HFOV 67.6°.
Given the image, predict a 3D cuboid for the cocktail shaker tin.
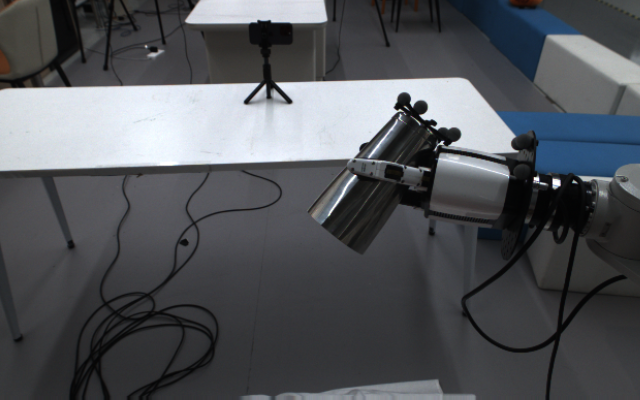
[{"bbox_3d":[0.072,-0.029,0.618,0.170,0.093,0.093,-50,46,4],"label":"cocktail shaker tin"}]
